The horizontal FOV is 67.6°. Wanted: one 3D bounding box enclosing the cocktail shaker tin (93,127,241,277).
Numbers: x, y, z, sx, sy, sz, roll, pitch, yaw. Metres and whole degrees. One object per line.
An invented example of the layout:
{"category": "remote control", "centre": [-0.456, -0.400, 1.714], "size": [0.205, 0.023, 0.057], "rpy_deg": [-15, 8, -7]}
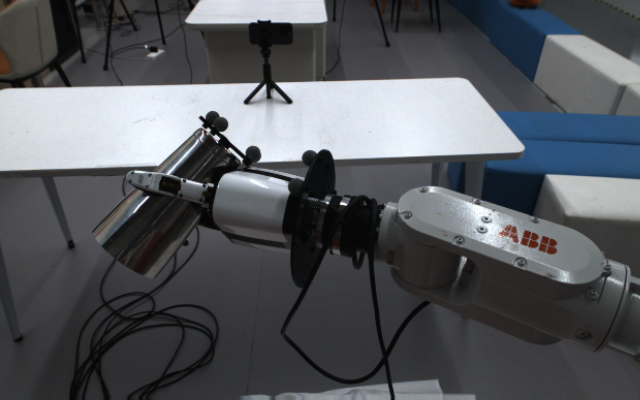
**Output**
{"category": "cocktail shaker tin", "centre": [-0.173, -0.004, 0.580], "size": [0.170, 0.093, 0.093], "rpy_deg": [-48, 49, -3]}
